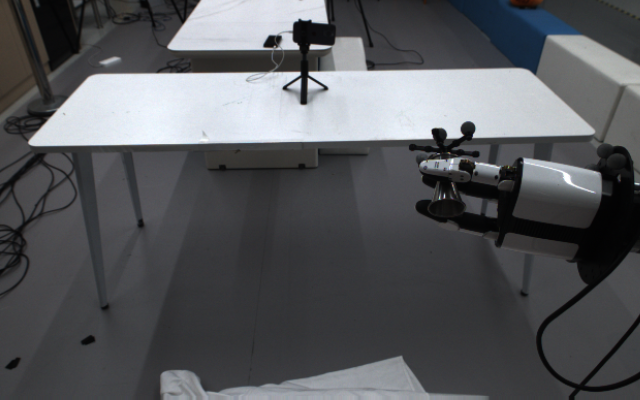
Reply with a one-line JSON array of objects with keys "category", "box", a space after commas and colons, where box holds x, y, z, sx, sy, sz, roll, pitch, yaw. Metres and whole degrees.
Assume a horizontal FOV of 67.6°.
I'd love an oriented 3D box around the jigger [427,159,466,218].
[{"category": "jigger", "box": [0.152, -0.019, 0.591, 0.043, 0.043, 0.071, 4, 61, 3]}]
